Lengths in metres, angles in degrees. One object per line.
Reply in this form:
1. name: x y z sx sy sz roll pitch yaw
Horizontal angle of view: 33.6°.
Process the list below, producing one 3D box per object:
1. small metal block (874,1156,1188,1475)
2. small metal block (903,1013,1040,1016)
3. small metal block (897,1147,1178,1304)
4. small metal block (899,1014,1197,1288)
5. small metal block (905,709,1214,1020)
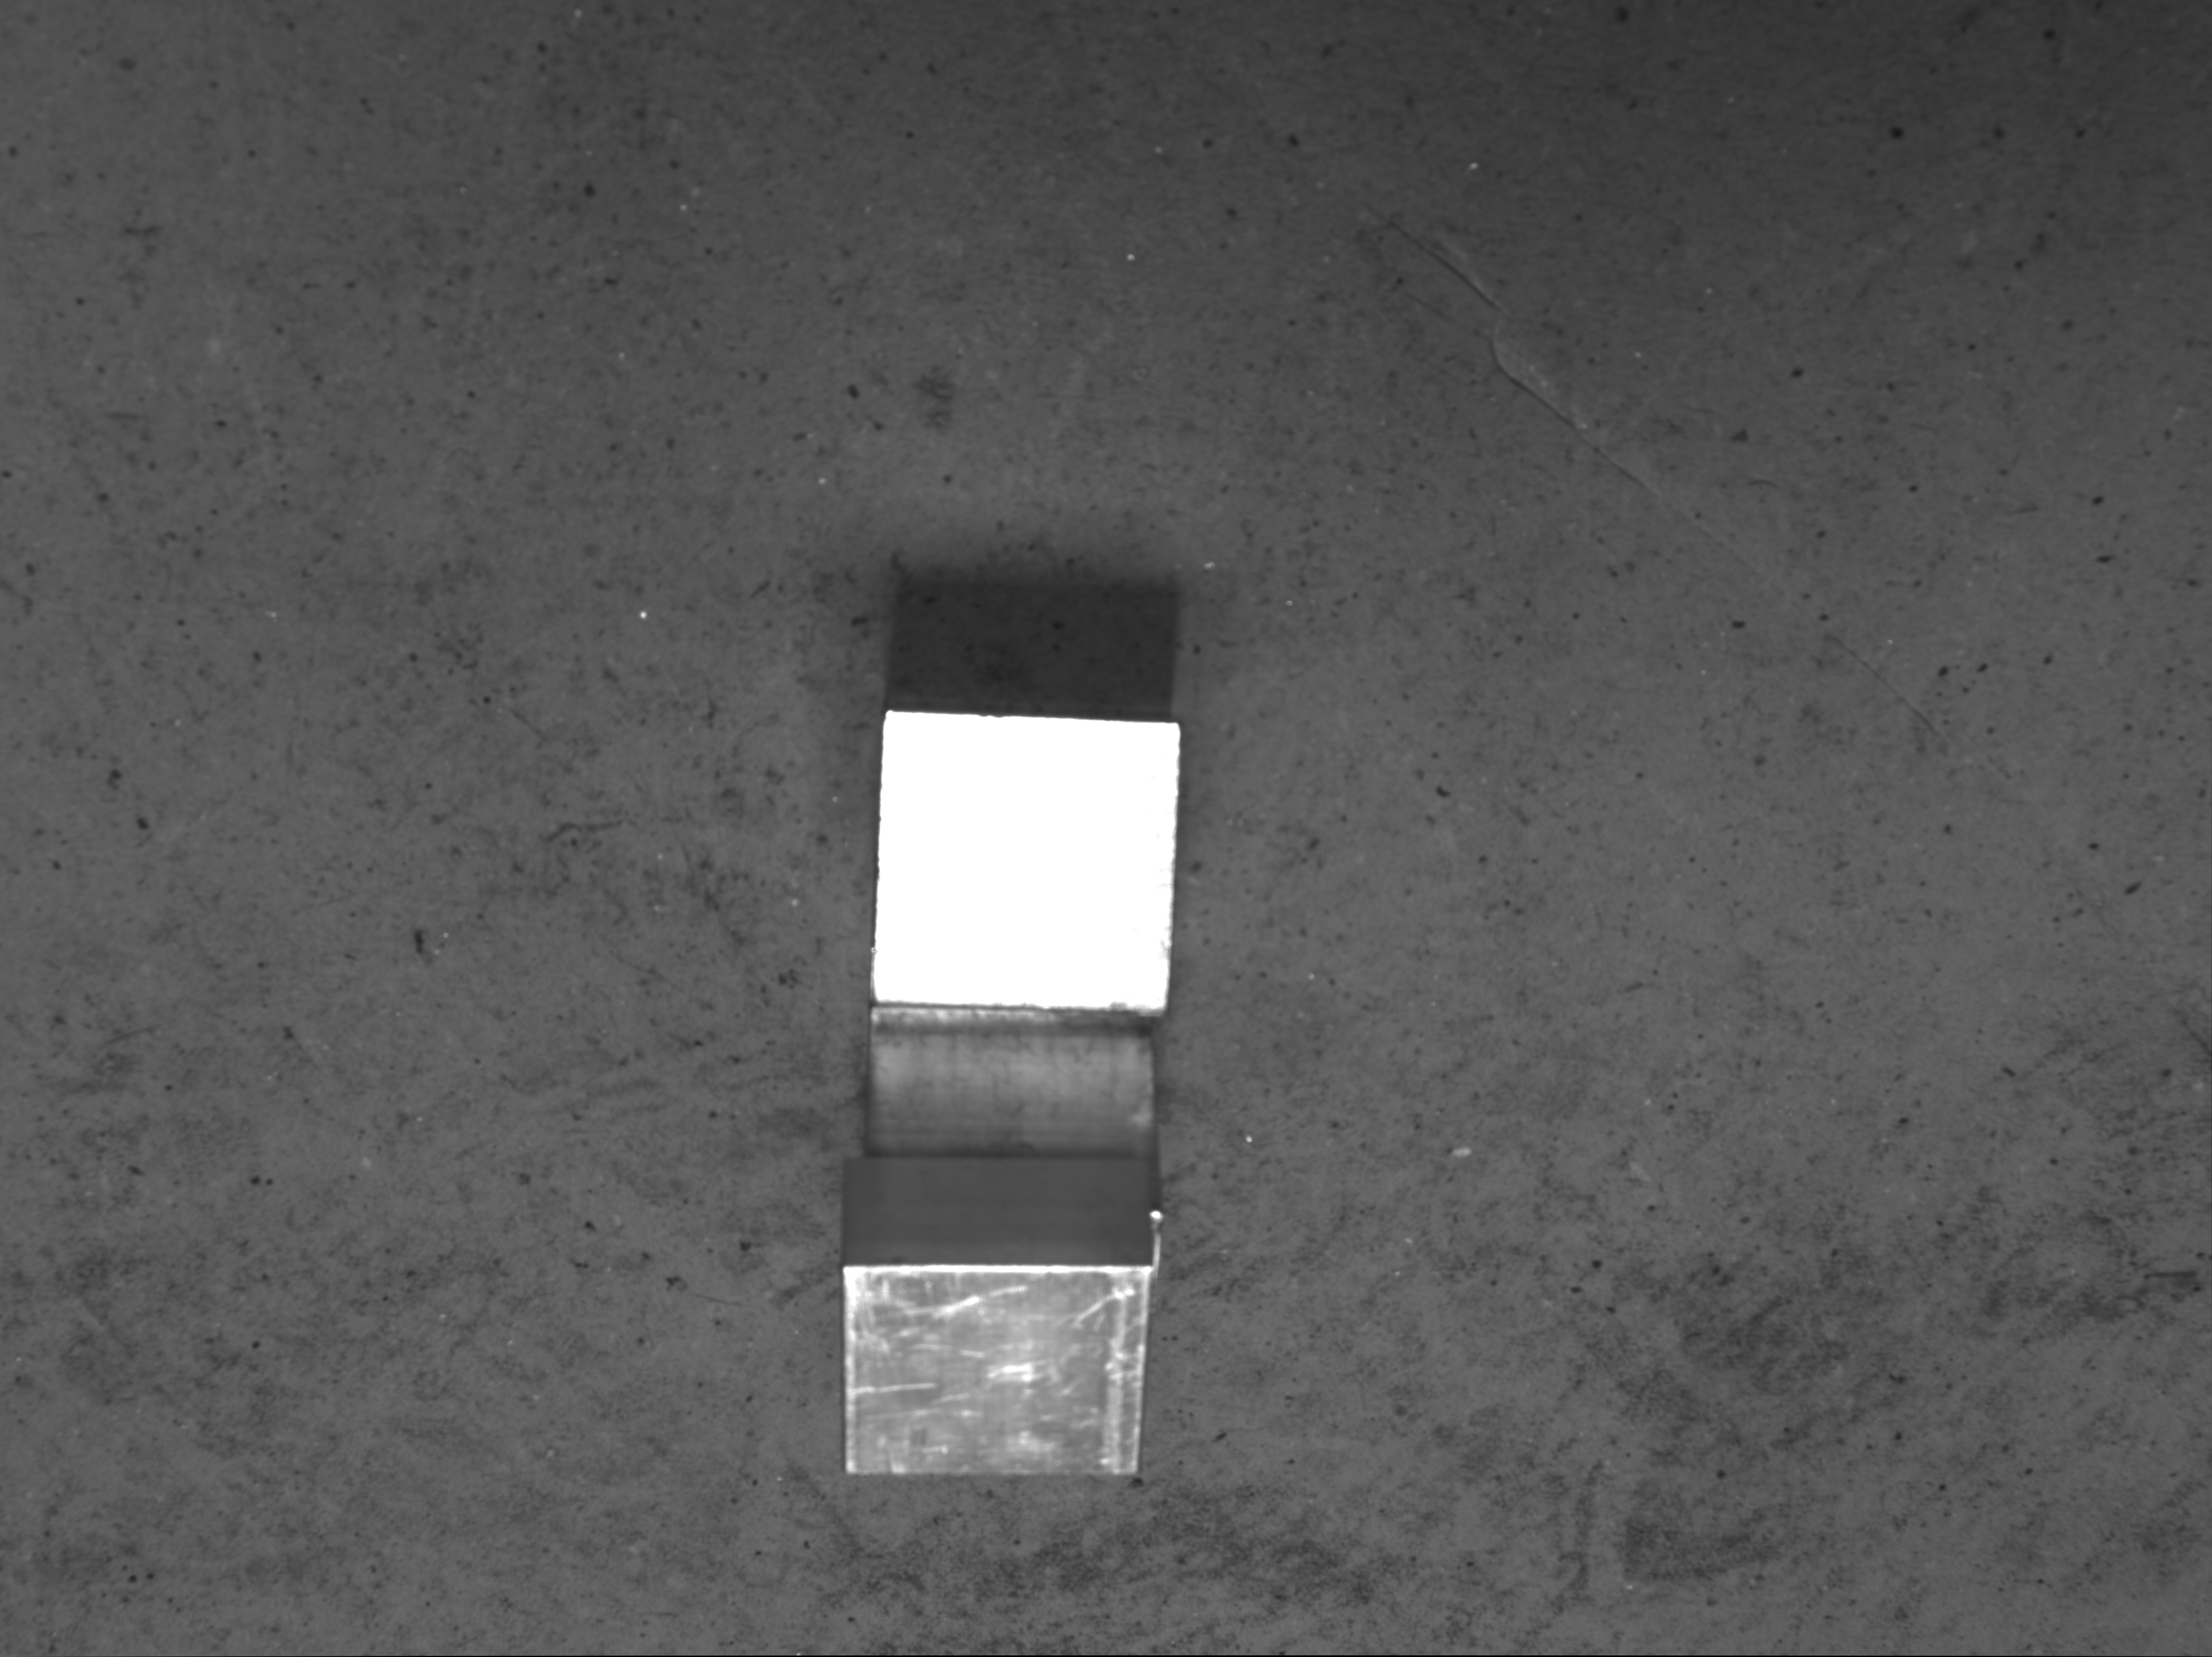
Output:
1. small metal block: -0.013 0.081 0.608 0.050 0.025 0.050 1 130 -2
2. small metal block: -0.012 0.033 0.667 0.050 0.025 0.050 2 130 -3
3. small metal block: -0.014 0.075 0.684 0.050 0.025 0.050 2 170 -3
4. small metal block: -0.011 0.058 0.637 0.050 0.050 0.025 2 130 -3
5. small metal block: -0.008 0.006 0.627 0.050 0.025 0.050 2 94 -3
